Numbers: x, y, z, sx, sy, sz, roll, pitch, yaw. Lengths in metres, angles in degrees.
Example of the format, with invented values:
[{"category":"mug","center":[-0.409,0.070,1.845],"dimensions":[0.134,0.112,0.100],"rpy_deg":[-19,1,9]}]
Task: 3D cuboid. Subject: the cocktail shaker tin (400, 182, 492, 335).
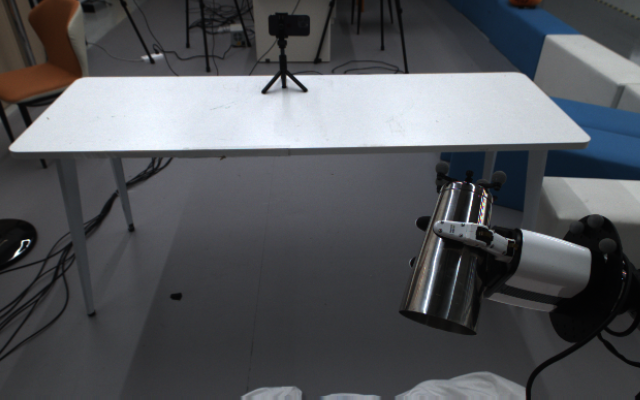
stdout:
[{"category":"cocktail shaker tin","center":[0.163,0.067,0.590],"dimensions":[0.093,0.093,0.170],"rpy_deg":[13,70,15]}]
